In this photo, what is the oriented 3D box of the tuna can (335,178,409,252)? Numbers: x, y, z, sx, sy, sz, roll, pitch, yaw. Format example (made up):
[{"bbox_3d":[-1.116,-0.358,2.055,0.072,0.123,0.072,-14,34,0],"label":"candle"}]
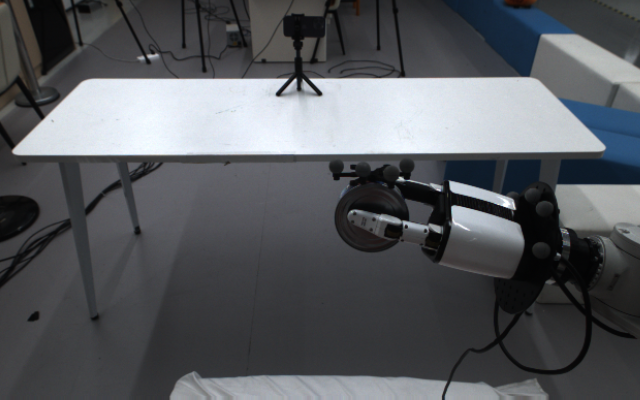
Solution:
[{"bbox_3d":[0.063,0.016,0.571,0.085,0.085,0.034,4,18,3],"label":"tuna can"}]
